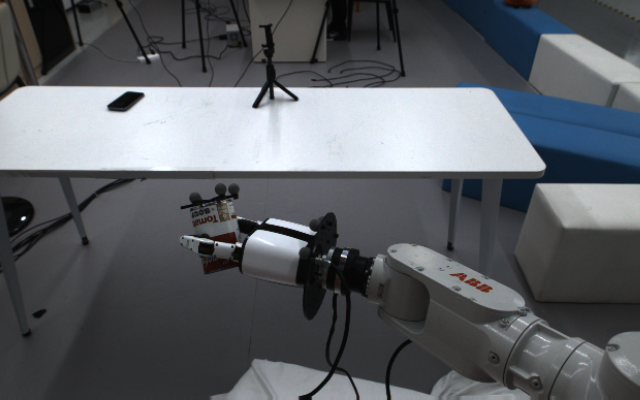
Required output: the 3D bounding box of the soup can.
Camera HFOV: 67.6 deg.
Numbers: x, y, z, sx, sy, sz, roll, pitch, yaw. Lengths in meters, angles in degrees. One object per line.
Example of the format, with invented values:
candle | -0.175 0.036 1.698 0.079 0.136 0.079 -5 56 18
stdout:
soup can | -0.154 0.058 0.738 0.067 0.101 0.067 -14 -2 -1
